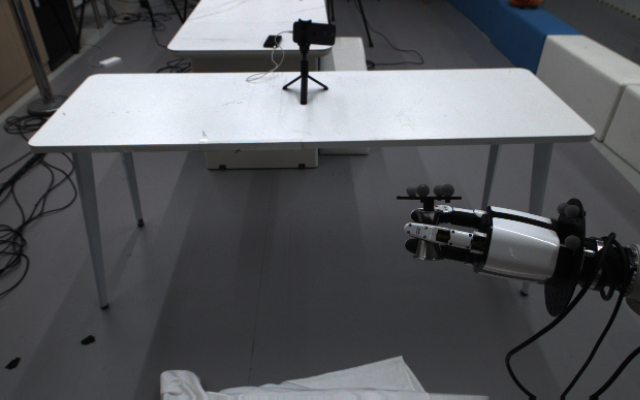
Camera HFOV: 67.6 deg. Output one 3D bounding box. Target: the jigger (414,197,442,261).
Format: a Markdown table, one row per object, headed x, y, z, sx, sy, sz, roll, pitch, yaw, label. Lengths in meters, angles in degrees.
| x | y | z | sx | sy | sz | roll | pitch | yaw | label |
| --- | --- | --- | --- | --- | --- | --- | --- | --- | --- |
| 0.153 | 0.047 | 0.686 | 0.043 | 0.071 | 0.043 | -1 | 2 | 0 | jigger |
